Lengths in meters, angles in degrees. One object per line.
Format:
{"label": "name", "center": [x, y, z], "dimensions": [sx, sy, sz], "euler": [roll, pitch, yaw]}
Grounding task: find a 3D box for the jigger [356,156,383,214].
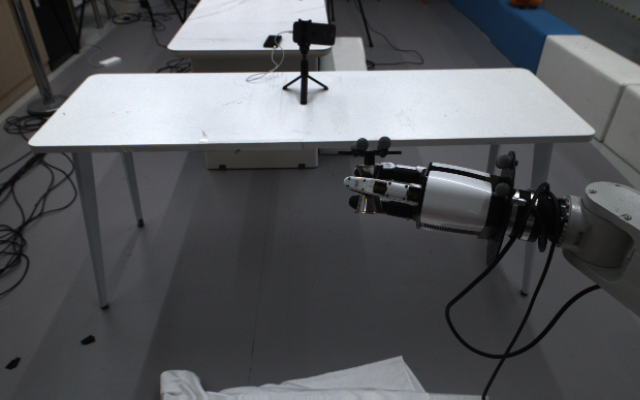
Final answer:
{"label": "jigger", "center": [0.070, -0.017, 0.690], "dimensions": [0.043, 0.071, 0.043], "euler": [-1, 2, 0]}
